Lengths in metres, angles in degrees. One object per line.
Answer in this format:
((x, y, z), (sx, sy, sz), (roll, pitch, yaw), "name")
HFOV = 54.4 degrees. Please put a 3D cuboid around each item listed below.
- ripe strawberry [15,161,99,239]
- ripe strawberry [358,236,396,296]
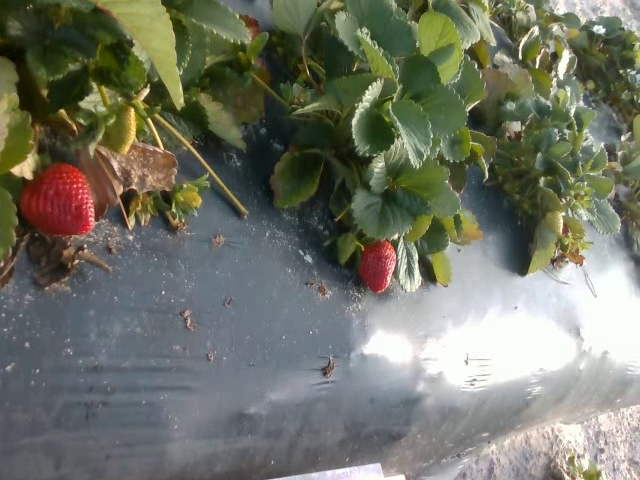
((-0.101, -0.012, 0.239), (0.032, 0.030, 0.026), (-39, -4, -37), "ripe strawberry")
((0.034, 0.017, 0.348), (0.029, 0.036, 0.021), (8, -21, -32), "ripe strawberry")
